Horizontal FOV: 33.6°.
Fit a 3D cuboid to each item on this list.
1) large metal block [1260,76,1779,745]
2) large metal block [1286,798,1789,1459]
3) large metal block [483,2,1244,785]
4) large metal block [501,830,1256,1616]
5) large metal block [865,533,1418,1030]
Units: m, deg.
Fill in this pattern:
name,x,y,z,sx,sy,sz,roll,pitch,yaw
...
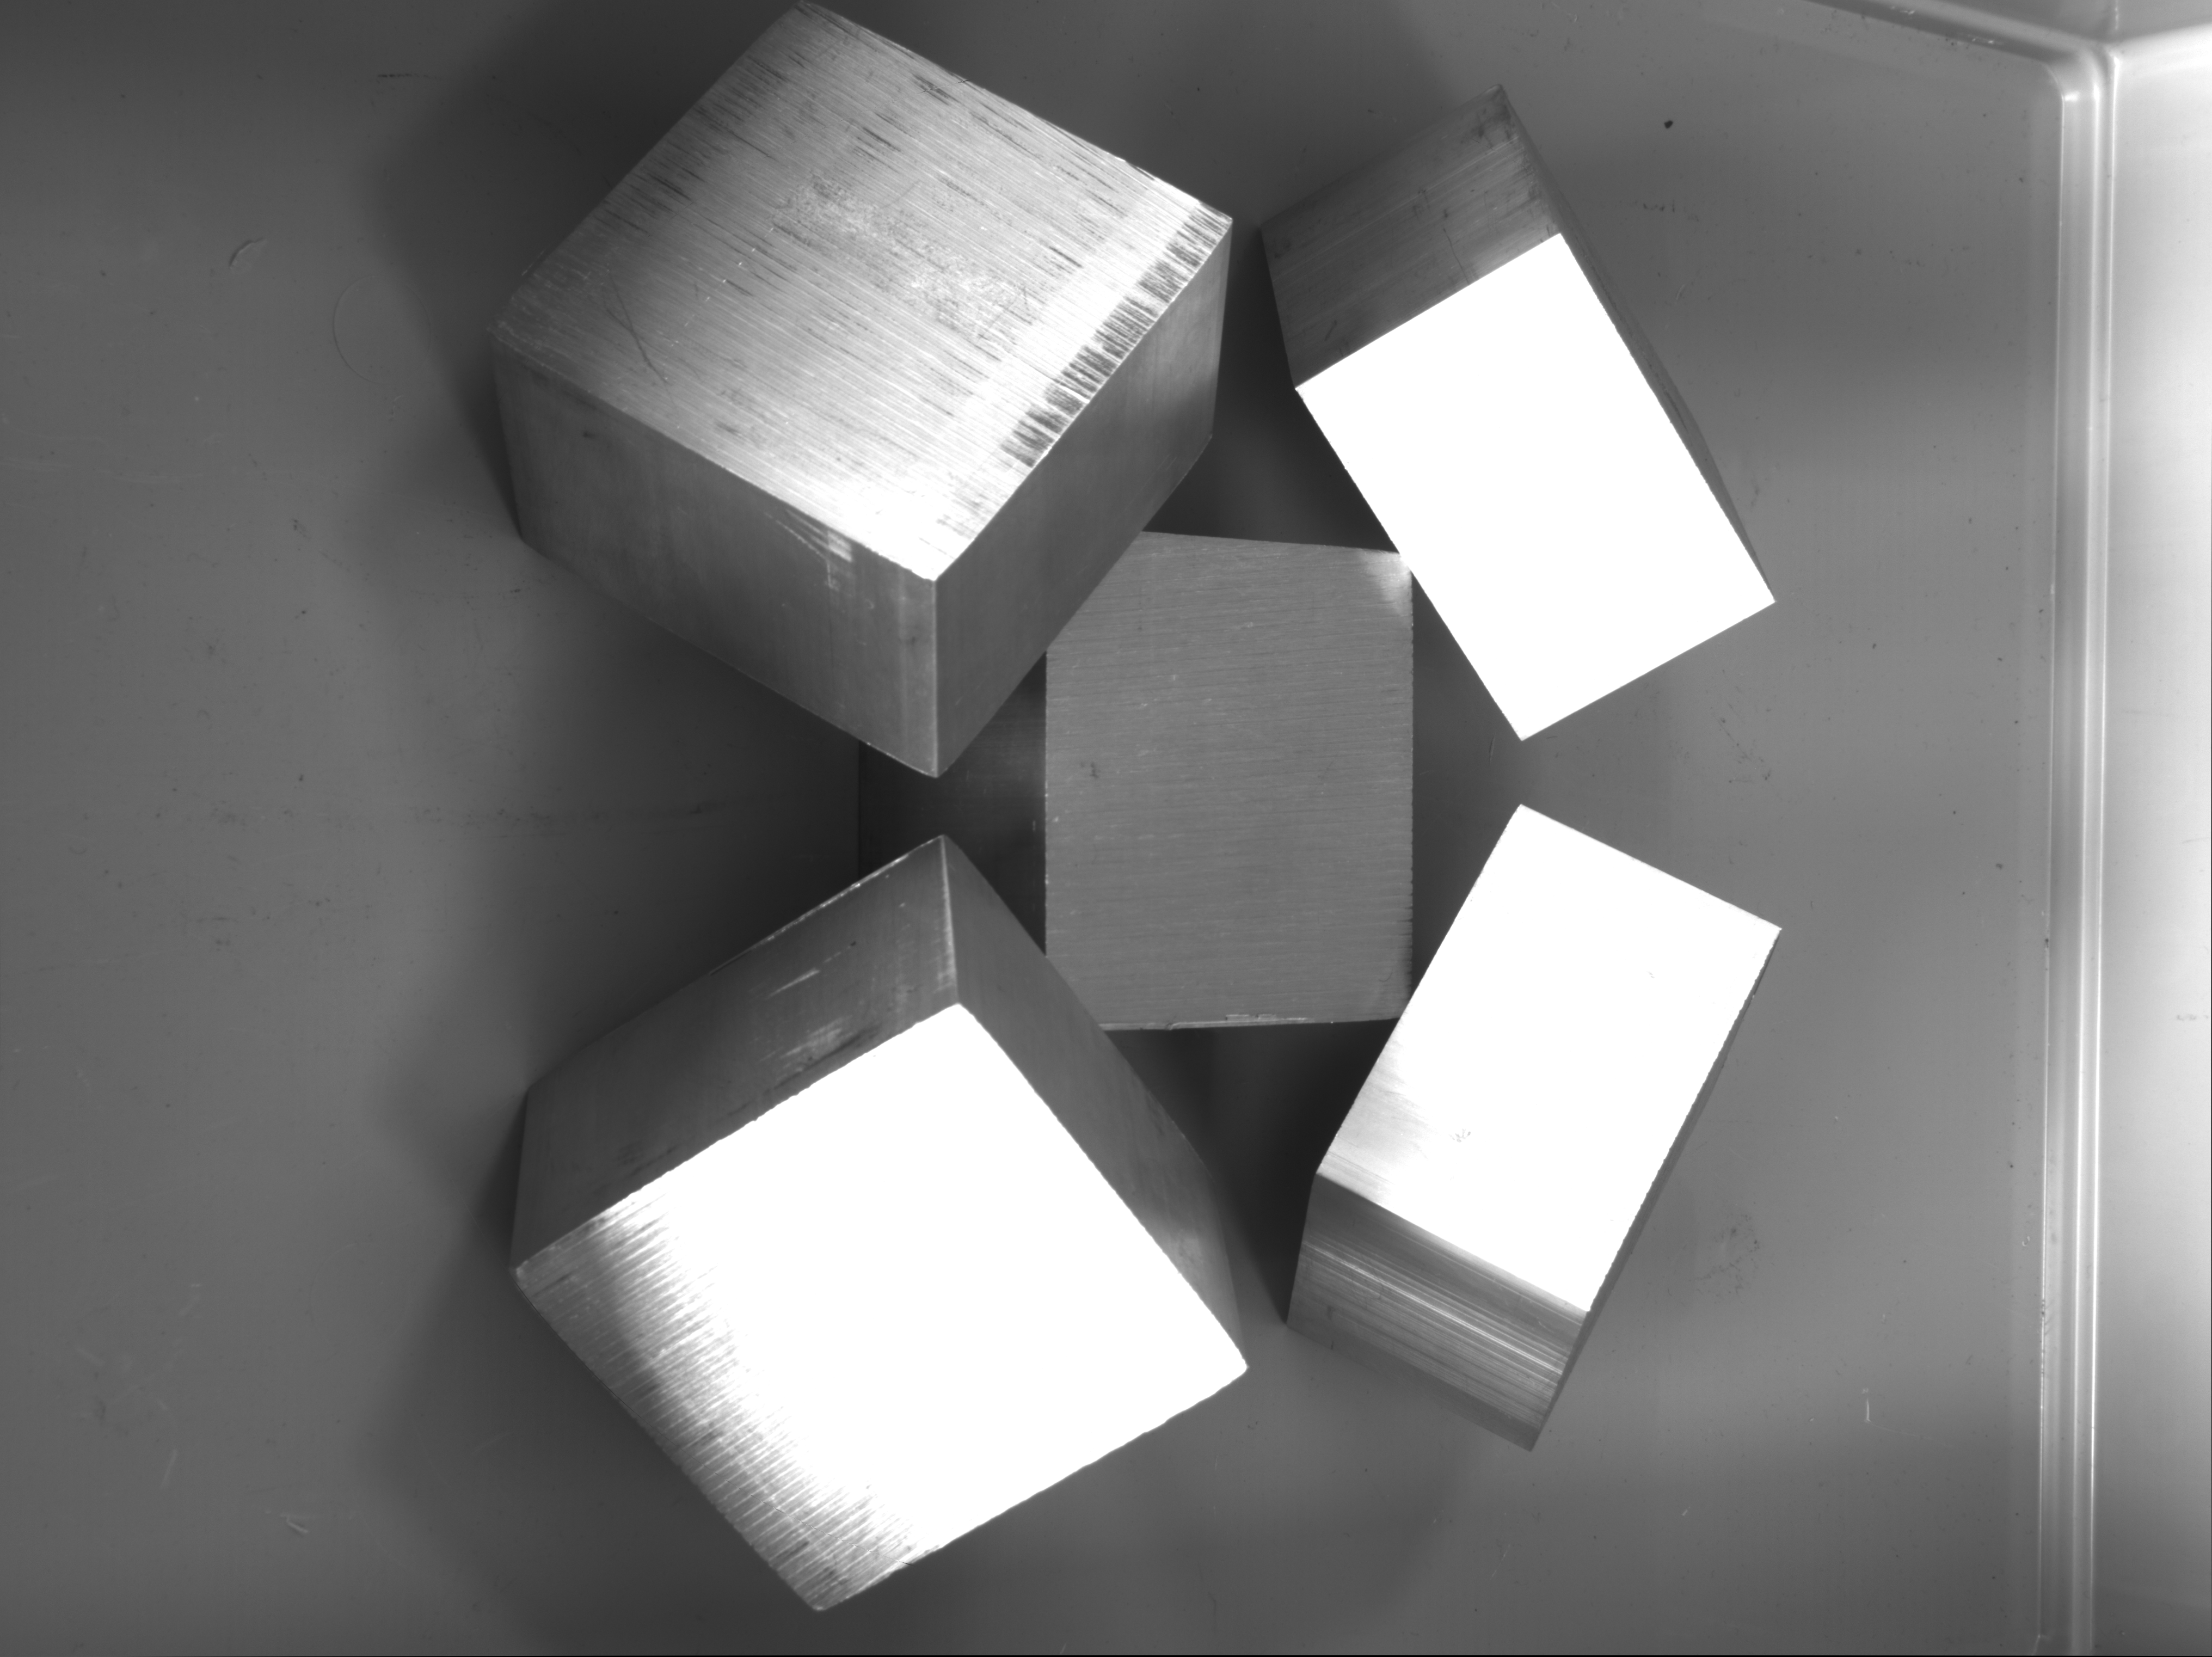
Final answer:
name,x,y,z,sx,sy,sz,roll,pitch,yaw
large metal block,0.072,-0.075,0.651,0.080,0.050,0.080,54,16,-25
large metal block,0.075,0.055,0.652,0.080,0.050,0.080,-59,168,-24
large metal block,-0.036,-0.067,0.558,0.080,0.080,0.050,-53,164,-27
large metal block,-0.034,0.061,0.563,0.080,0.050,0.080,-31,117,12
large metal block,0.006,-0.007,0.622,0.080,0.050,0.080,1,89,-40
